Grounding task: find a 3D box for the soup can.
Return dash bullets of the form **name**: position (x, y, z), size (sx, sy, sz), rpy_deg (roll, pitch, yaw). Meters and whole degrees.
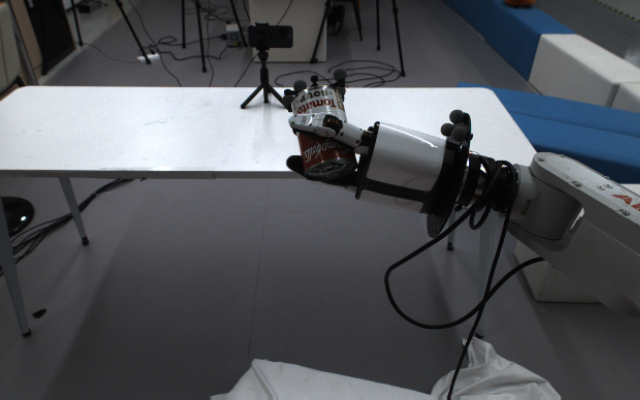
- **soup can**: position (0.005, -0.084, 0.611), size (0.067, 0.067, 0.101), rpy_deg (-8, 74, -14)
